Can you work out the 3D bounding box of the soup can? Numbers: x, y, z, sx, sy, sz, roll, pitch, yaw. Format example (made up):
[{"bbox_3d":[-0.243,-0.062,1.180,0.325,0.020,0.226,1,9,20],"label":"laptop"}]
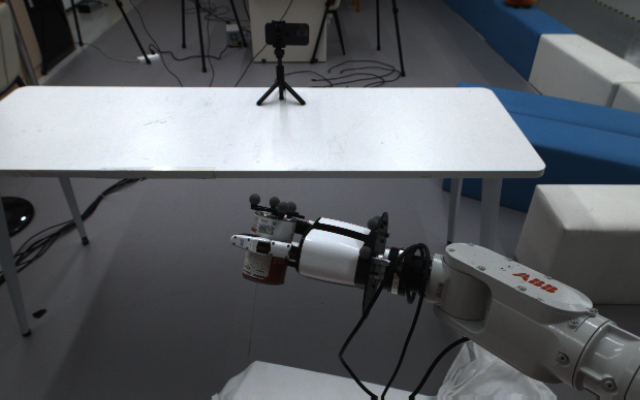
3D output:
[{"bbox_3d":[-0.076,0.073,0.739,0.067,0.101,0.067,12,2,0],"label":"soup can"}]
